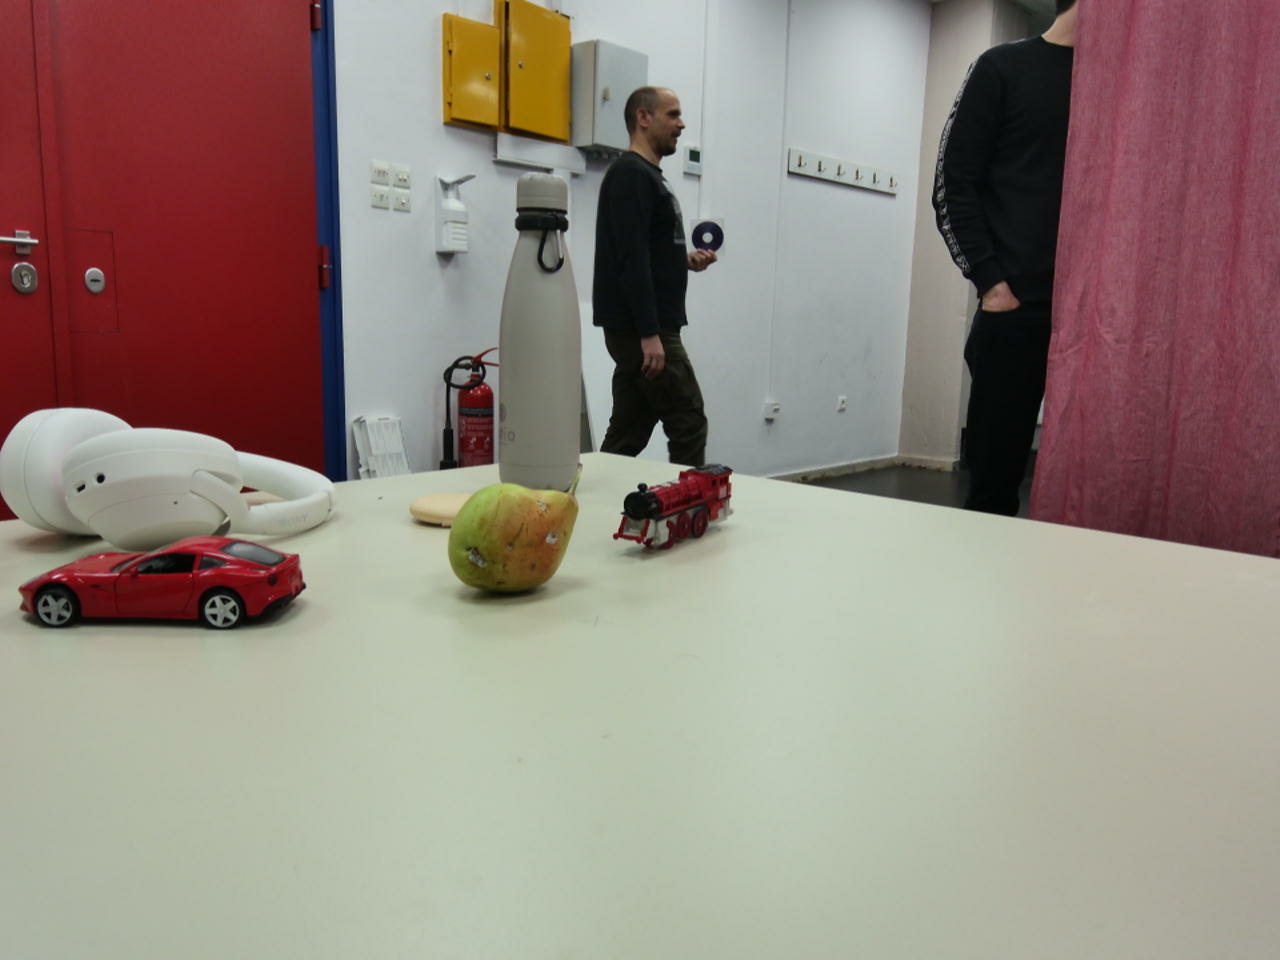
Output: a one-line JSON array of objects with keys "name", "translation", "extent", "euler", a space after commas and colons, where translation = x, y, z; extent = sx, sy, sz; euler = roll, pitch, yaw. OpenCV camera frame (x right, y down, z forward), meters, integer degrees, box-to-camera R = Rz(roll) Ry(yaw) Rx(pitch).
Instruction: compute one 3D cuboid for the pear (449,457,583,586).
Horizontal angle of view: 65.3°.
[{"name": "pear", "translation": [-0.072, 0.025, 0.573], "extent": [0.070, 0.069, 0.068], "euler": [1, 8, 4]}]
